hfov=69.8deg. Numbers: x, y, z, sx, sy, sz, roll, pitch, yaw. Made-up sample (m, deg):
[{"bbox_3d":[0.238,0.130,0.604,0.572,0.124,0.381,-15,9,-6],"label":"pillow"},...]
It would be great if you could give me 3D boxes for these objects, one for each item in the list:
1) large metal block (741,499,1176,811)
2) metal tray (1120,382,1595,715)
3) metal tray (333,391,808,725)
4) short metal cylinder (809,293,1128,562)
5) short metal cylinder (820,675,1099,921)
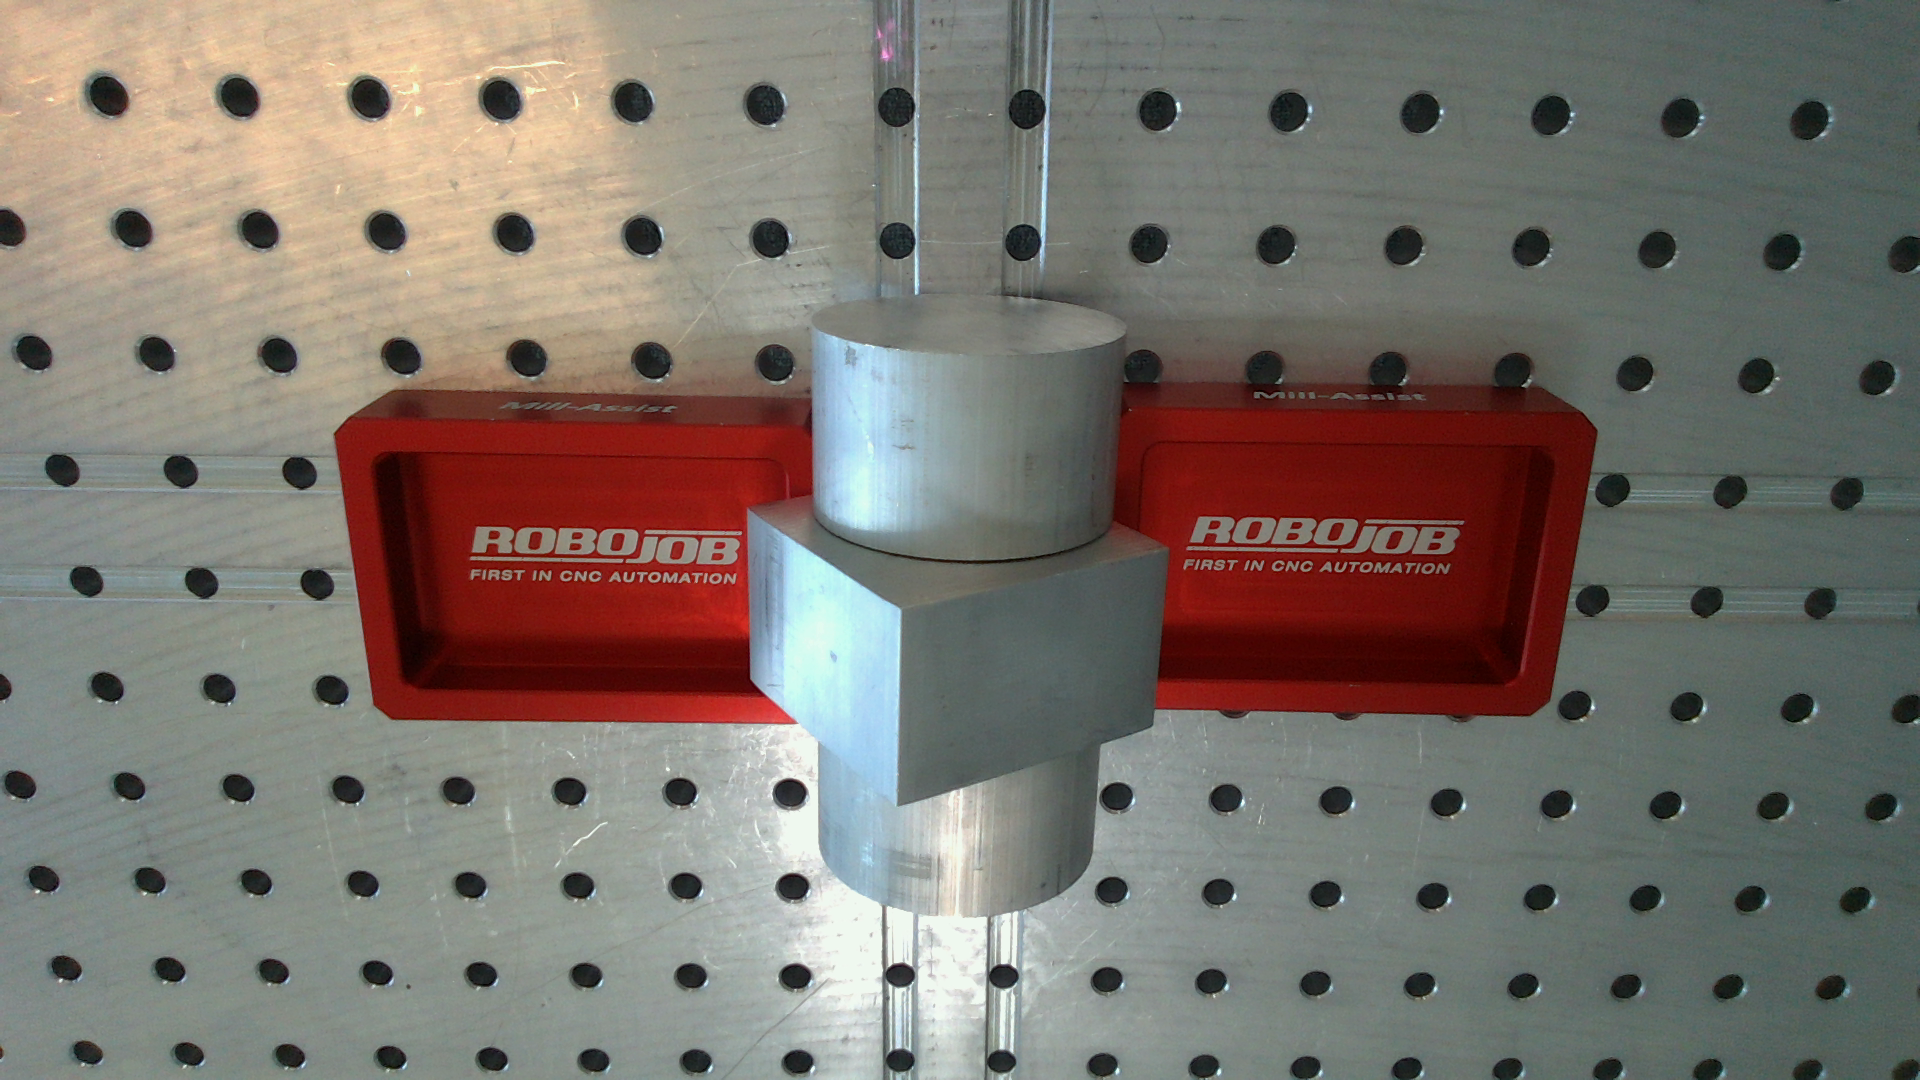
[{"bbox_3d":[-0.003,0.020,0.359,0.080,0.080,0.050,-11,114,-33],"label":"large metal block"},{"bbox_3d":[0.105,0.003,0.395,0.130,0.030,0.090,1,110,-1],"label":"metal tray"},{"bbox_3d":[-0.103,0.006,0.395,0.130,0.030,0.090,1,110,-1],"label":"metal tray"},{"bbox_3d":[0.002,-0.032,0.355,0.080,0.080,0.050,1,110,-1],"label":"short metal cylinder"},{"bbox_3d":[0.000,0.063,0.390,0.080,0.080,0.050,2,110,-1],"label":"short metal cylinder"}]
